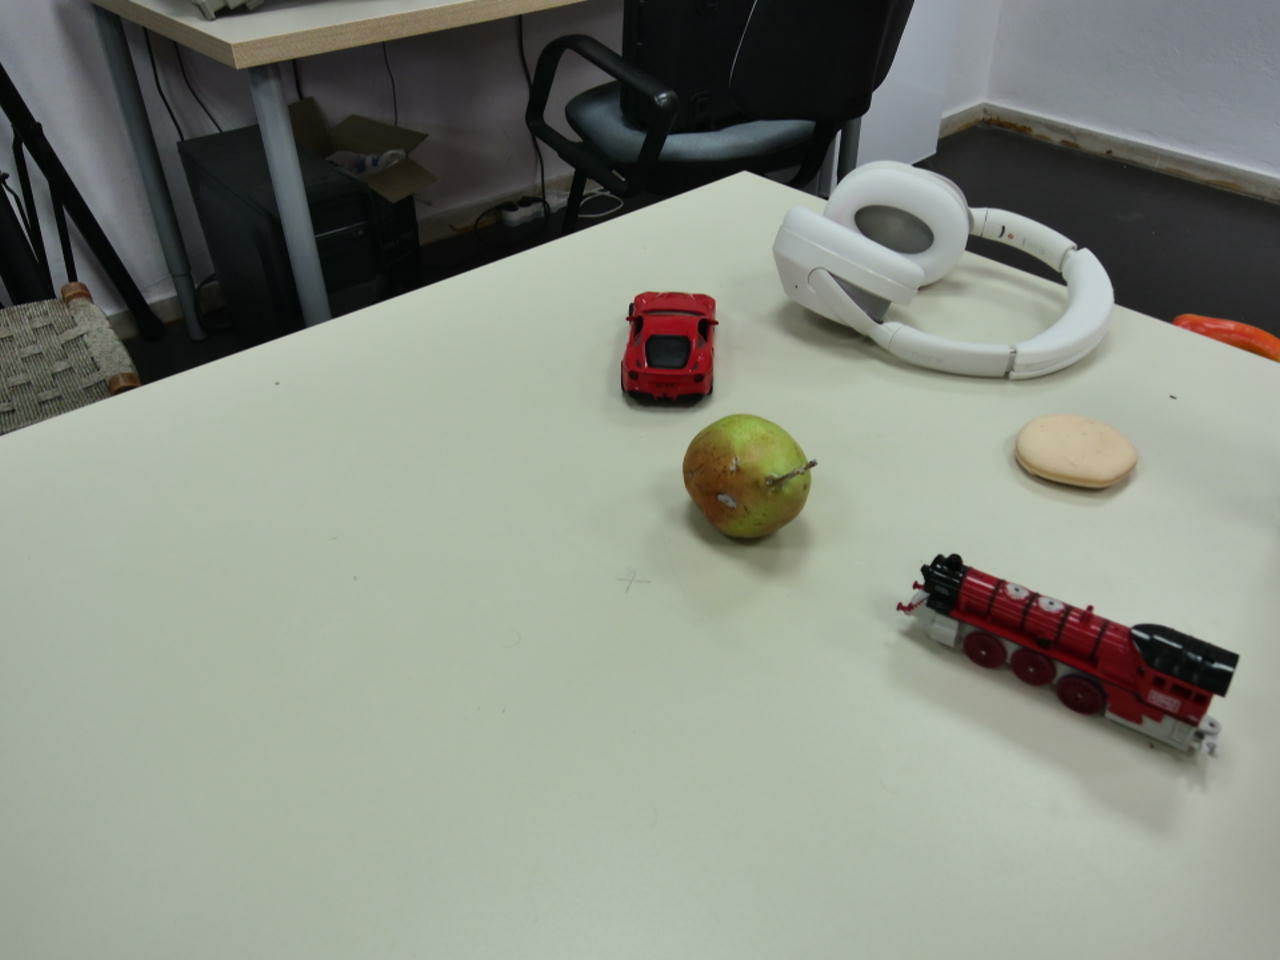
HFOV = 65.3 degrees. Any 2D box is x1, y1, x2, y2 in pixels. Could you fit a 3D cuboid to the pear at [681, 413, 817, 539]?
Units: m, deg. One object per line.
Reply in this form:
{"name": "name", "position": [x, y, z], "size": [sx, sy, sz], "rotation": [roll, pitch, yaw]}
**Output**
{"name": "pear", "position": [0.055, -0.003, 0.521], "size": [0.068, 0.069, 0.070], "rotation": [8, 37, 9]}
